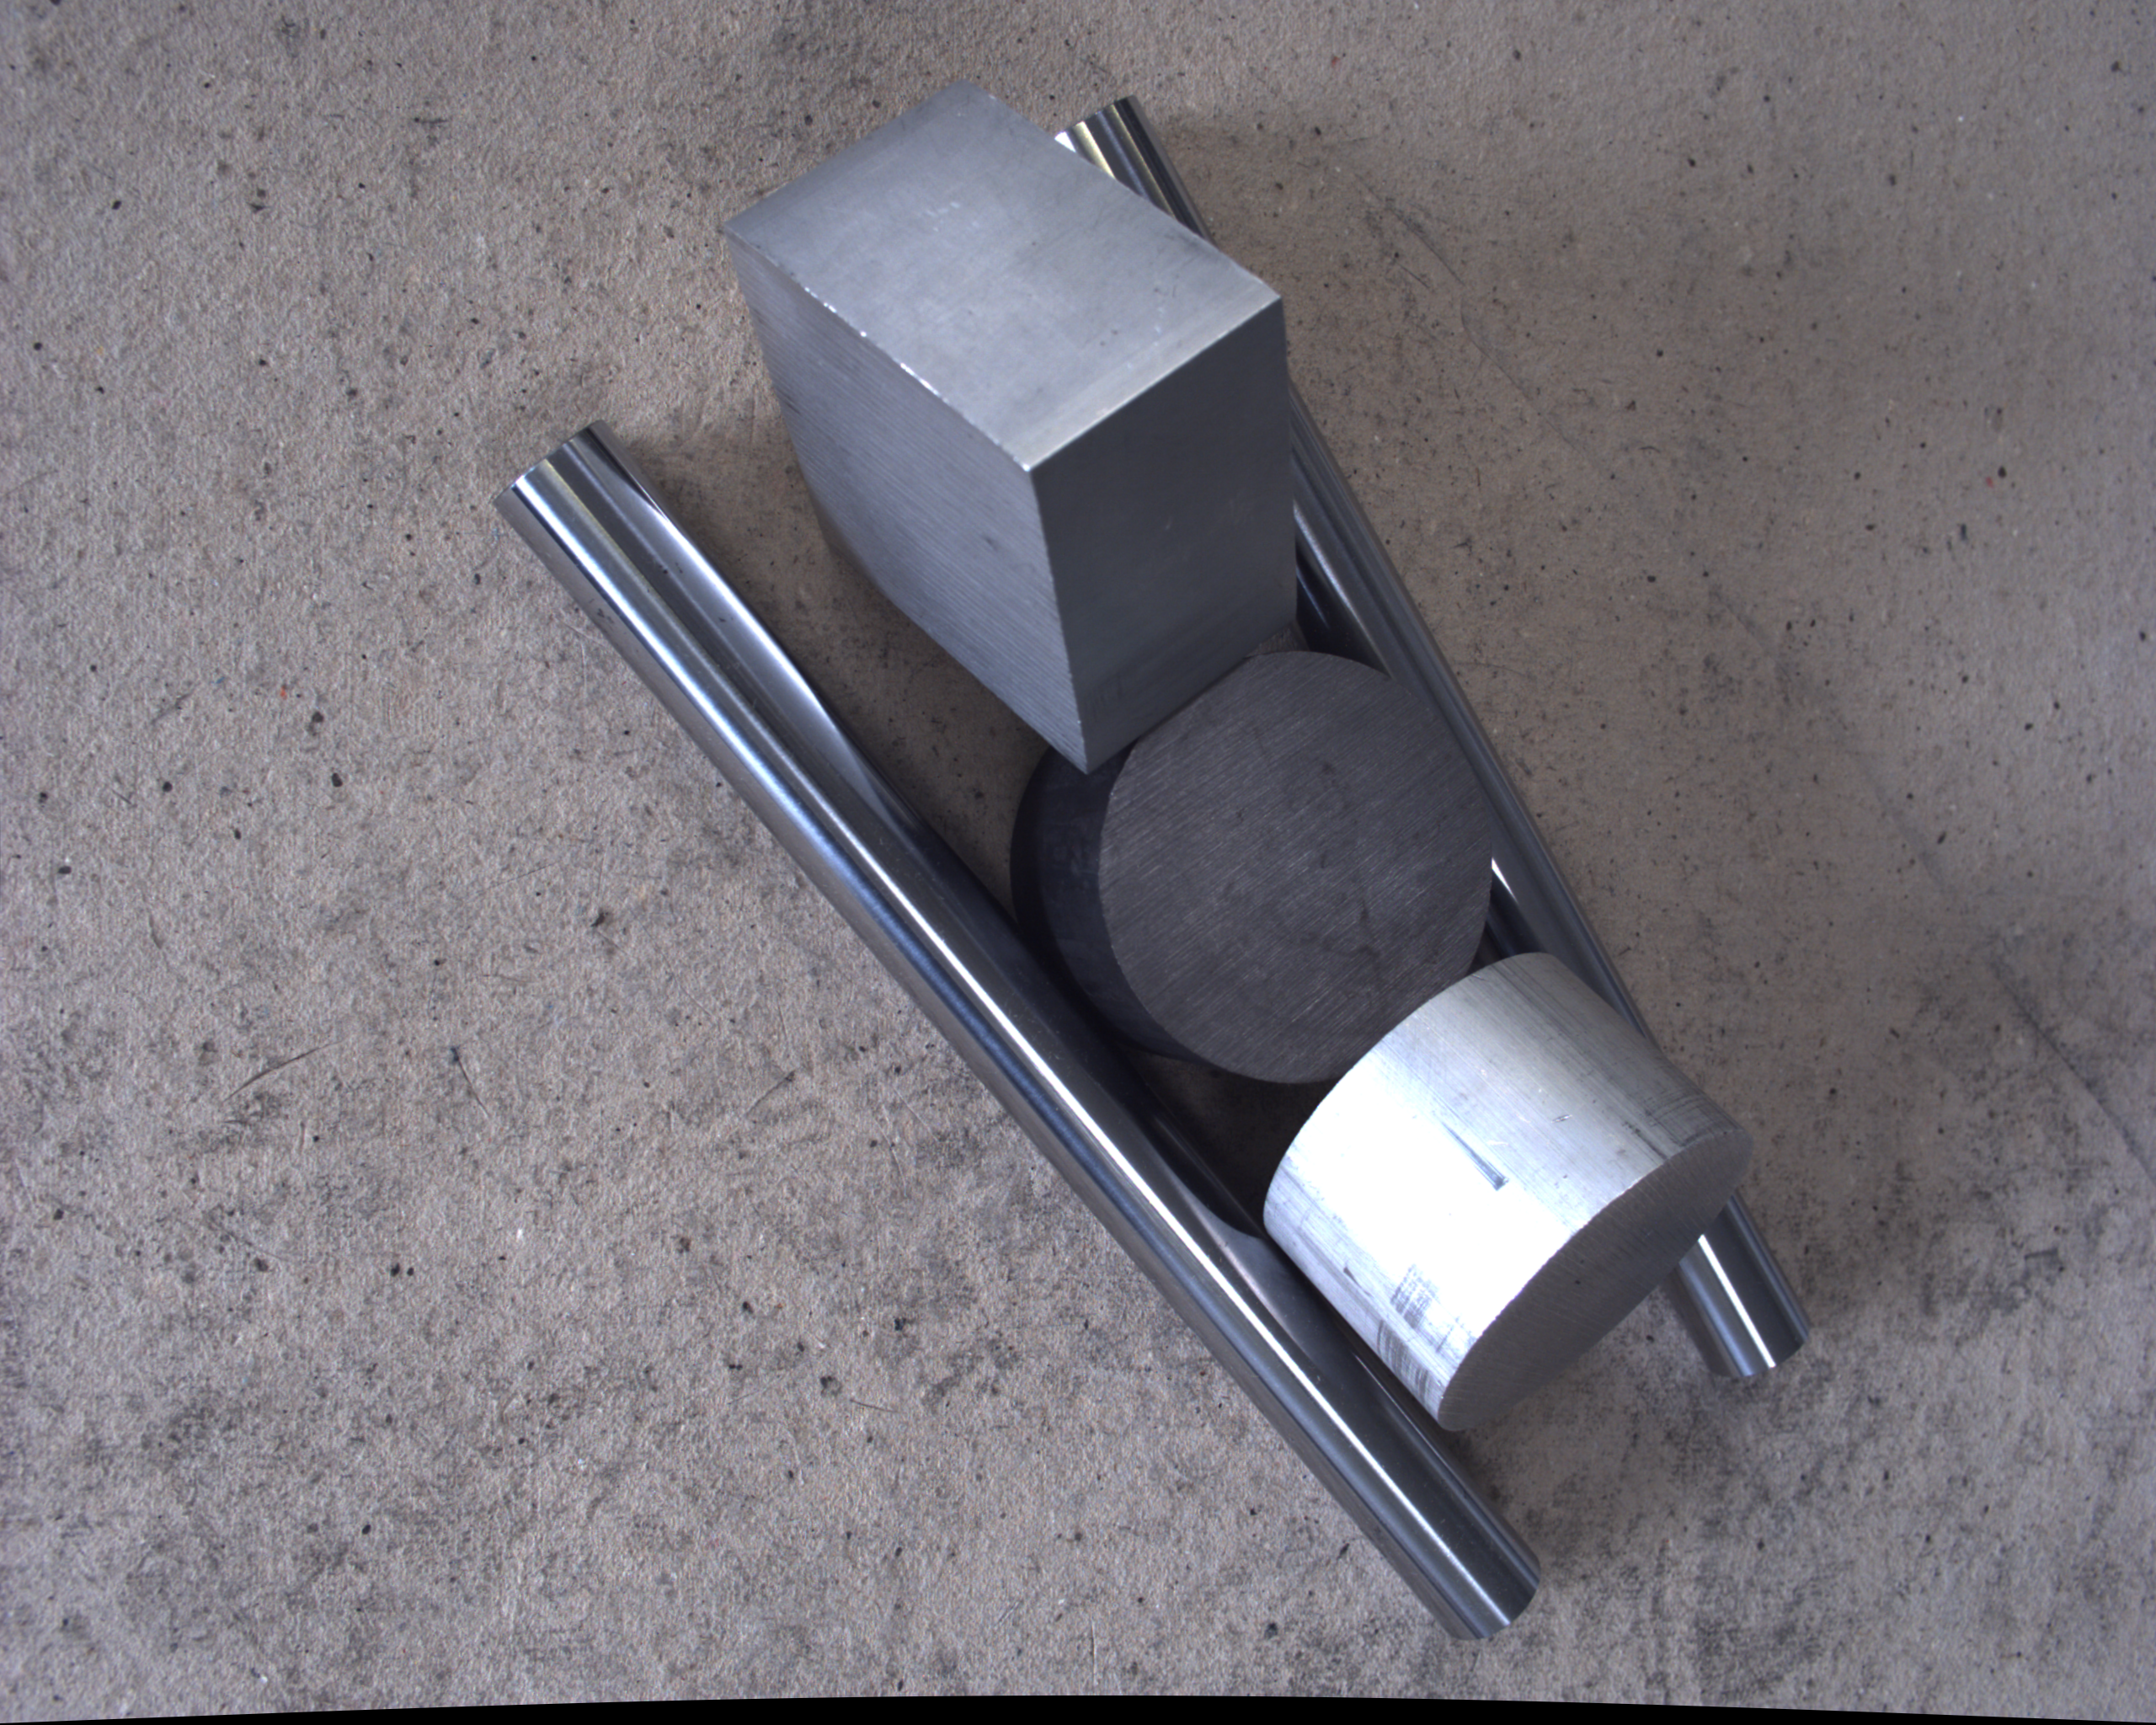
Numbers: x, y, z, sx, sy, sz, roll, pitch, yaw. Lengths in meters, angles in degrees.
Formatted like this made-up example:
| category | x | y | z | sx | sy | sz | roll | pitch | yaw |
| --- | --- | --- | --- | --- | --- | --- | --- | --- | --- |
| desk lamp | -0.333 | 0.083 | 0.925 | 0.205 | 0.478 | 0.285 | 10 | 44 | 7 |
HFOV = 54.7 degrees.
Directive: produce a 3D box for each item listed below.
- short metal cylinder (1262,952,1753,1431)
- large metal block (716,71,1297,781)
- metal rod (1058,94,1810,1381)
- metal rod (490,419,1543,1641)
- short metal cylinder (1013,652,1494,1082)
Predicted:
| category | x | y | z | sx | sy | sz | roll | pitch | yaw |
| --- | --- | --- | --- | --- | --- | --- | --- | --- | --- |
| short metal cylinder | 0.083 | 0.064 | 0.405 | 0.080 | 0.080 | 0.050 | -33 | 59 | -17 |
| large metal block | -0.009 | -0.074 | 0.361 | 0.050 | 0.080 | 0.080 | -38 | 61 | -16 |
| metal rod | 0.076 | -0.018 | 0.438 | 0.025 | 0.025 | 0.299 | -34 | 101 | -17 |
| metal rod | -0.004 | 0.042 | 0.408 | 0.025 | 0.025 | 0.300 | -43 | 104 | -15 |
| short metal cylinder | 0.033 | 0.001 | 0.409 | 0.081 | 0.050 | 0.080 | 0 | 90 | -20 |
